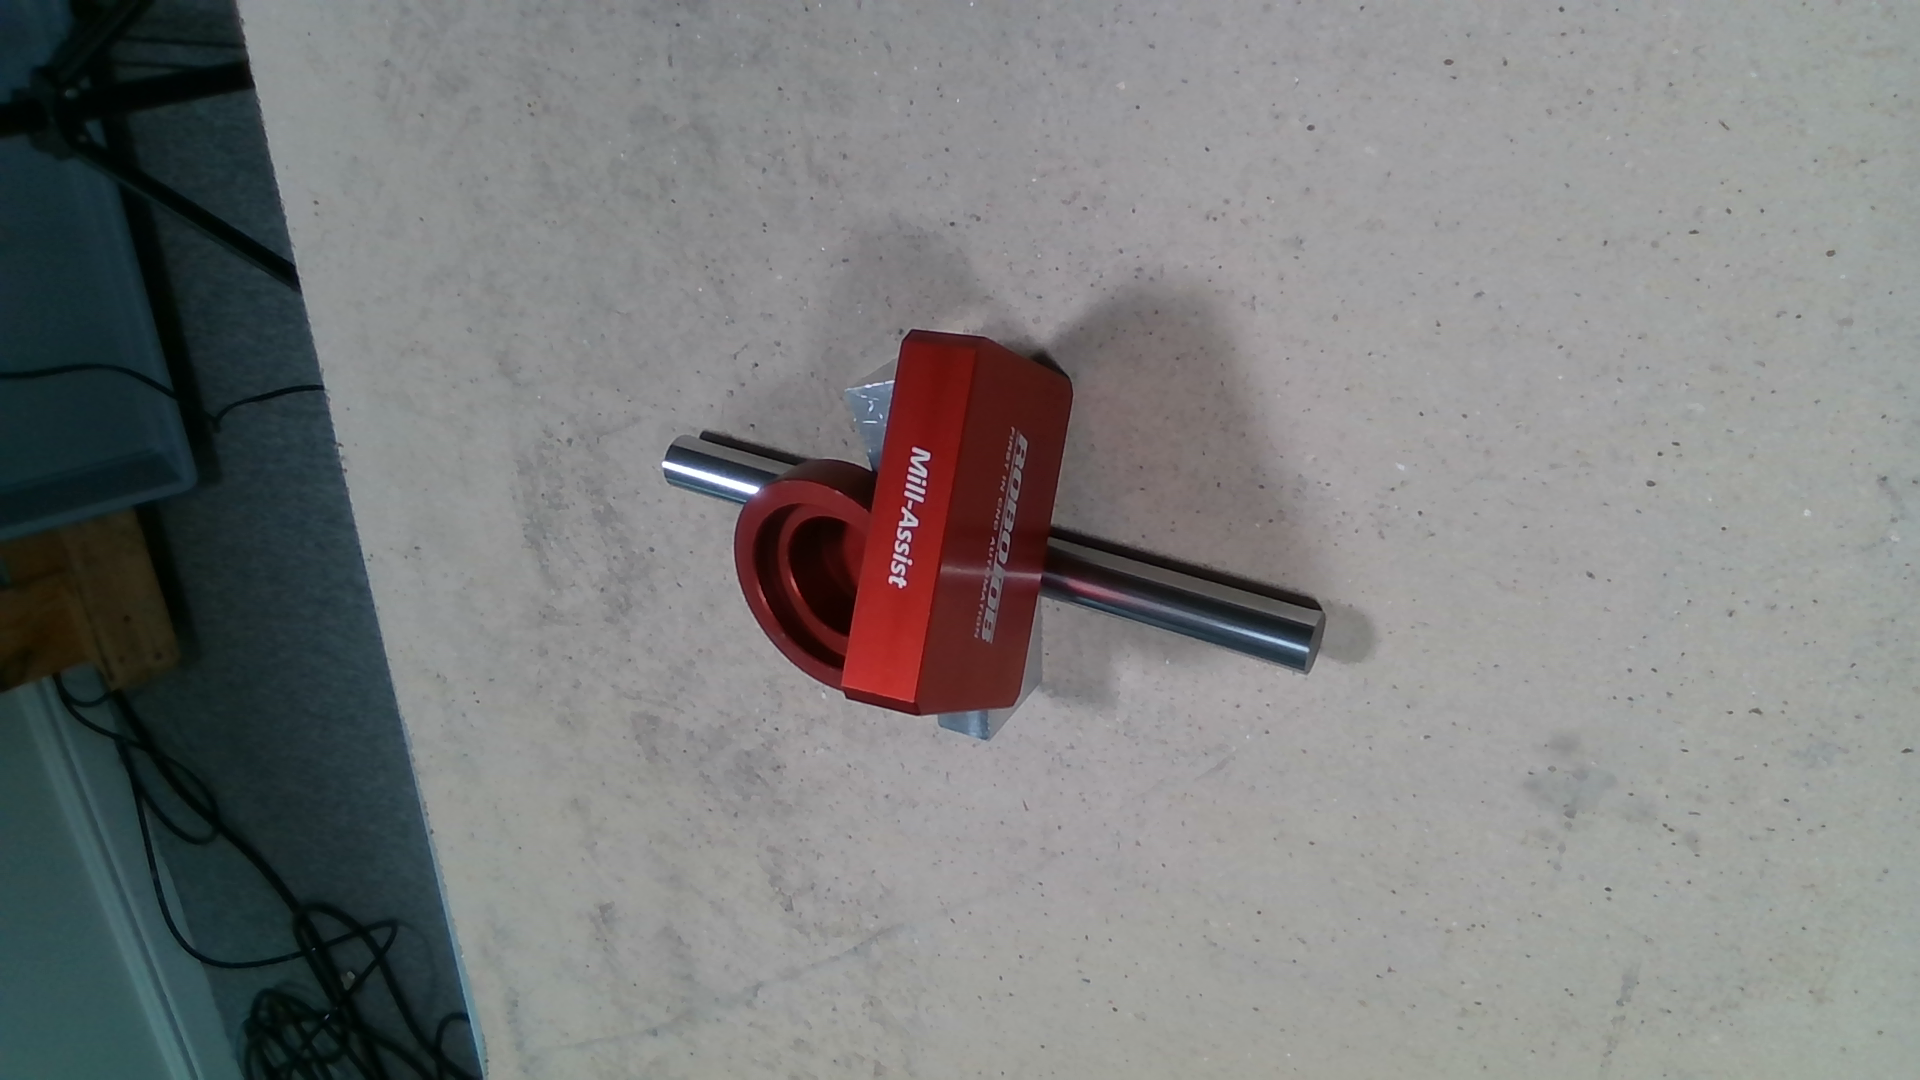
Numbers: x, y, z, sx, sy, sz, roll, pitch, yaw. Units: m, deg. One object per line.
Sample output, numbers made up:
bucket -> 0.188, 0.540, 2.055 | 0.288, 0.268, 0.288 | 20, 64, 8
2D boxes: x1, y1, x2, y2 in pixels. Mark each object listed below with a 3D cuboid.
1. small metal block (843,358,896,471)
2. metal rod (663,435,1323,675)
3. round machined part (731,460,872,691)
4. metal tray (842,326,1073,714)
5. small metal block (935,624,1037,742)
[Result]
small metal block -> -0.015, -0.047, 0.547 | 0.025, 0.050, 0.050 | -5, 112, 34
metal rod -> 0.002, 0.001, 0.579 | 0.300, 0.025, 0.025 | 16, 123, 24
round machined part -> -0.043, 0.011, 0.566 | 0.098, 0.042, 0.098 | 17, 125, 27
metal tray -> 0.002, -0.005, 0.505 | 0.030, 0.090, 0.130 | 10, 90, 26
small metal block -> 0.012, 0.048, 0.583 | 0.025, 0.050, 0.050 | 13, 121, 26
